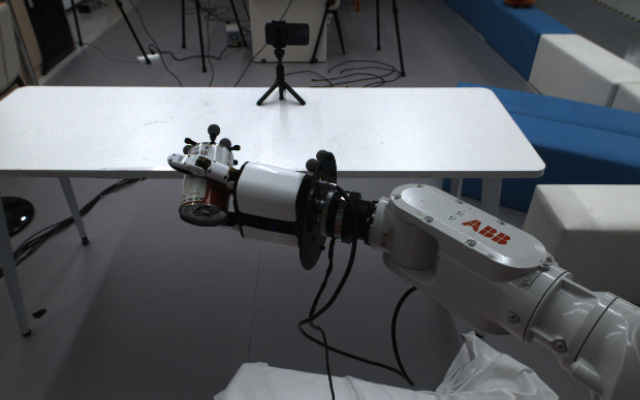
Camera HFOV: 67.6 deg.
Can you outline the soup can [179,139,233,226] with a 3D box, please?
[{"bbox_3d":[-0.158,-0.021,0.682,0.067,0.067,0.101,1,61,-2],"label":"soup can"}]
